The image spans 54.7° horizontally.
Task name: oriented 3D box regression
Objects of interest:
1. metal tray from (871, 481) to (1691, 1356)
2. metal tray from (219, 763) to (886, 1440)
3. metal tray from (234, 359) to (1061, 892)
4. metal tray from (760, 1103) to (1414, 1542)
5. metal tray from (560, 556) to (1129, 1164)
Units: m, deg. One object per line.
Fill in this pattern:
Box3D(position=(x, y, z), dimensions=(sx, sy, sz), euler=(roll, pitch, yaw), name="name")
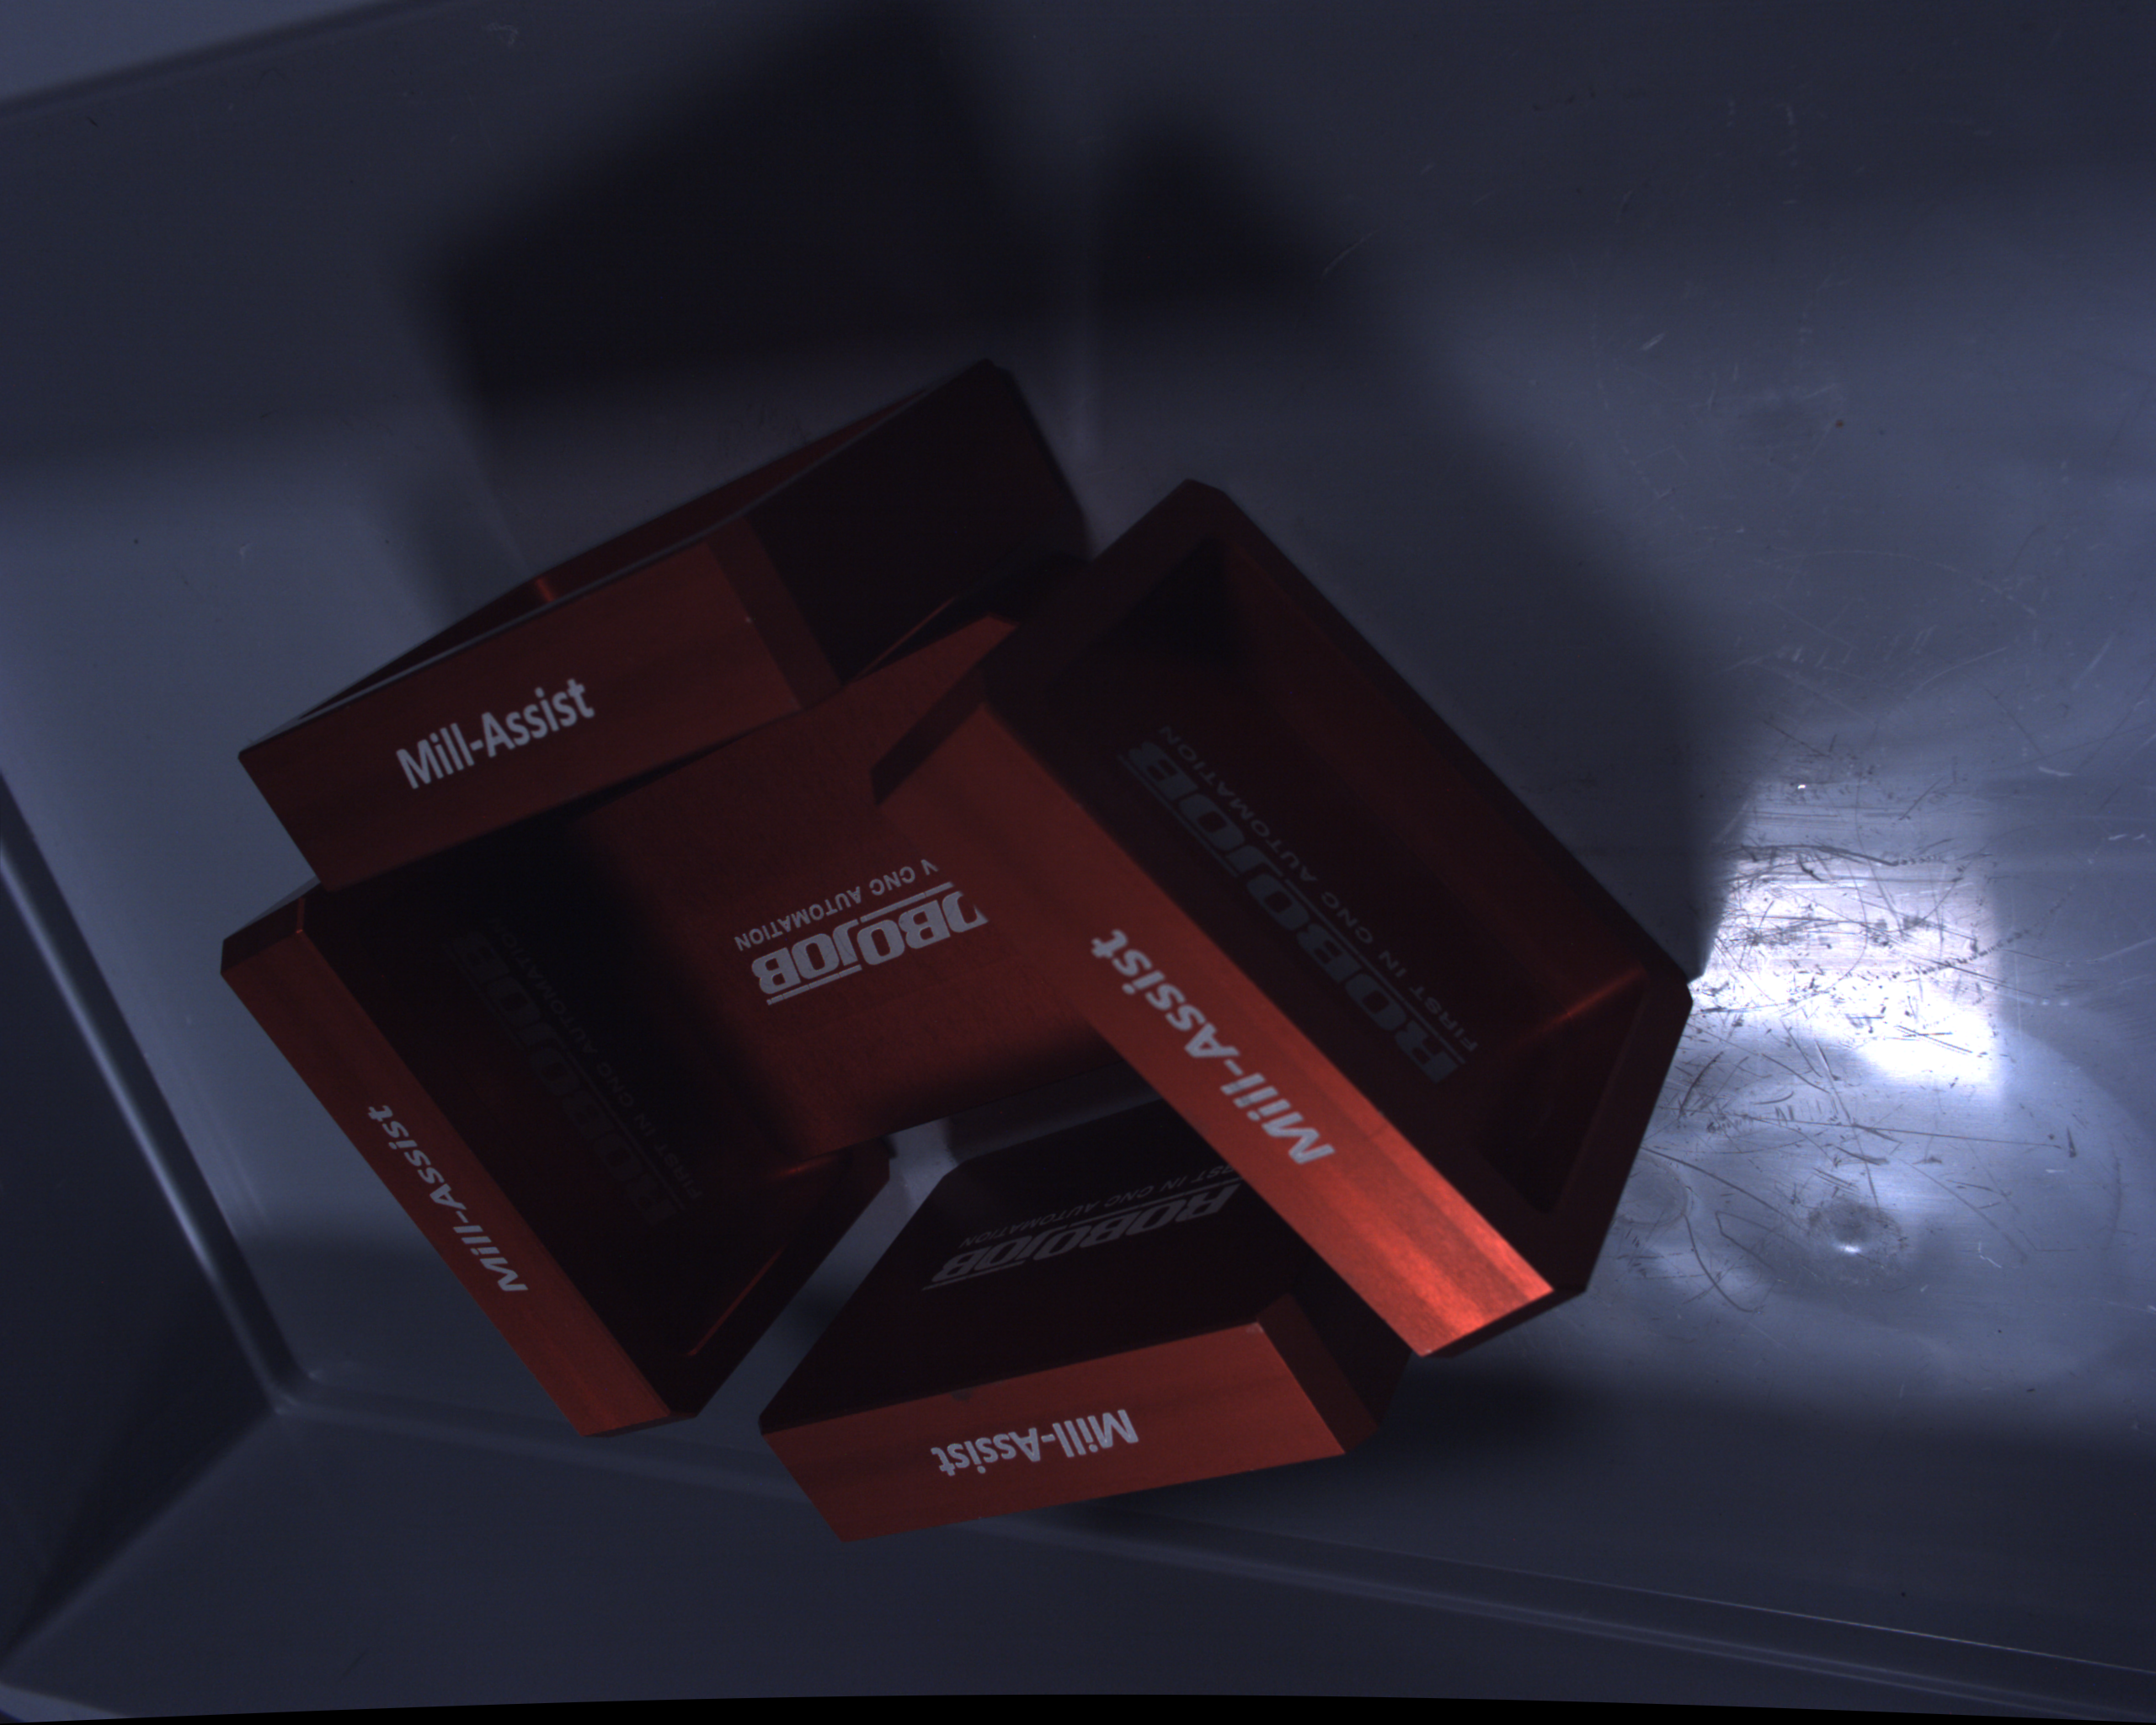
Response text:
Box3D(position=(0.039, 0.006, 0.347), dimensions=(0.130, 0.090, 0.030), euler=(45, 130, -4), name="metal tray")
Box3D(position=(-0.106, 0.045, 0.445), dimensions=(0.030, 0.090, 0.130), euler=(-23, 106, 36), name="metal tray")
Box3D(position=(-0.078, -0.042, 0.377), dimensions=(0.130, 0.090, 0.030), euler=(-17, 110, 34), name="metal tray")
Box3D(position=(0.010, 0.083, 0.409), dimensions=(0.130, 0.090, 0.030), euler=(-22, 107, 36), name="metal tray")
Box3D(position=(-0.033, 0.004, 0.420), dimensions=(0.130, 0.030, 0.090), euler=(-21, 107, 35), name="metal tray")
